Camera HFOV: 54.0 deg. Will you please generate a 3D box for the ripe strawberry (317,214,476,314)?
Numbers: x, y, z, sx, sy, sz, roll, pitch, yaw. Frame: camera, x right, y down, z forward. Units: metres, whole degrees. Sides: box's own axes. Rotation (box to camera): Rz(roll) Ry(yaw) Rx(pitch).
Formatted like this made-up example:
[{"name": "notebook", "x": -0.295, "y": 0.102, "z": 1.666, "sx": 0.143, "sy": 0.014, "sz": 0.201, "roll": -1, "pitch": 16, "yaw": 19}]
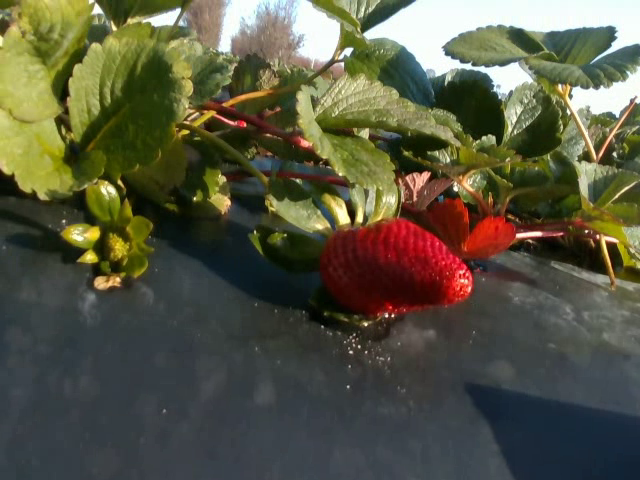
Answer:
[{"name": "ripe strawberry", "x": 0.025, "y": 0.009, "z": 0.191, "sx": 0.041, "sy": 0.041, "sz": 0.056, "roll": -33, "pitch": 26, "yaw": -30}]
